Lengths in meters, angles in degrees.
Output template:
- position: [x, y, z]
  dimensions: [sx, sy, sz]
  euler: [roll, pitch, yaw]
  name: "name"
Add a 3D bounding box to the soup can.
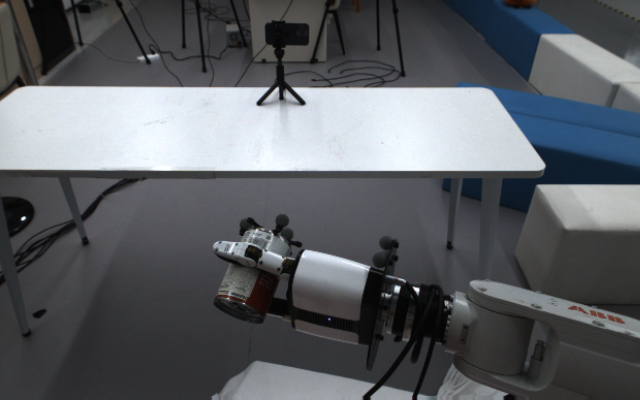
- position: [-0.082, 0.093, 0.609]
  dimensions: [0.067, 0.067, 0.101]
  euler: [12, 59, 14]
  name: "soup can"
